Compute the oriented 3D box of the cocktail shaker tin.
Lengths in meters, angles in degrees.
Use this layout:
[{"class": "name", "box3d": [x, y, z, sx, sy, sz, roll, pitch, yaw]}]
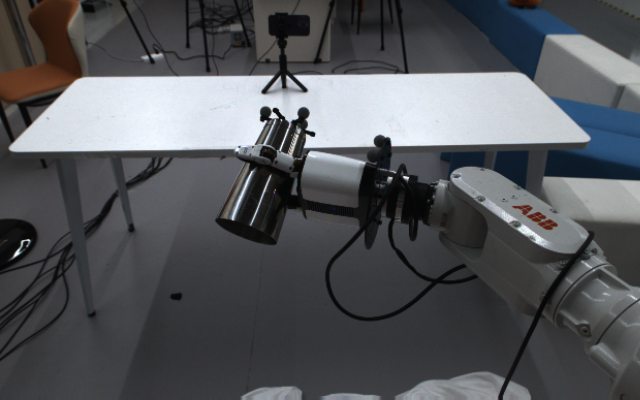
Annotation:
[{"class": "cocktail shaker tin", "box3d": [-0.079, -0.031, 0.708, 0.093, 0.093, 0.170, 13, 70, 16]}]
